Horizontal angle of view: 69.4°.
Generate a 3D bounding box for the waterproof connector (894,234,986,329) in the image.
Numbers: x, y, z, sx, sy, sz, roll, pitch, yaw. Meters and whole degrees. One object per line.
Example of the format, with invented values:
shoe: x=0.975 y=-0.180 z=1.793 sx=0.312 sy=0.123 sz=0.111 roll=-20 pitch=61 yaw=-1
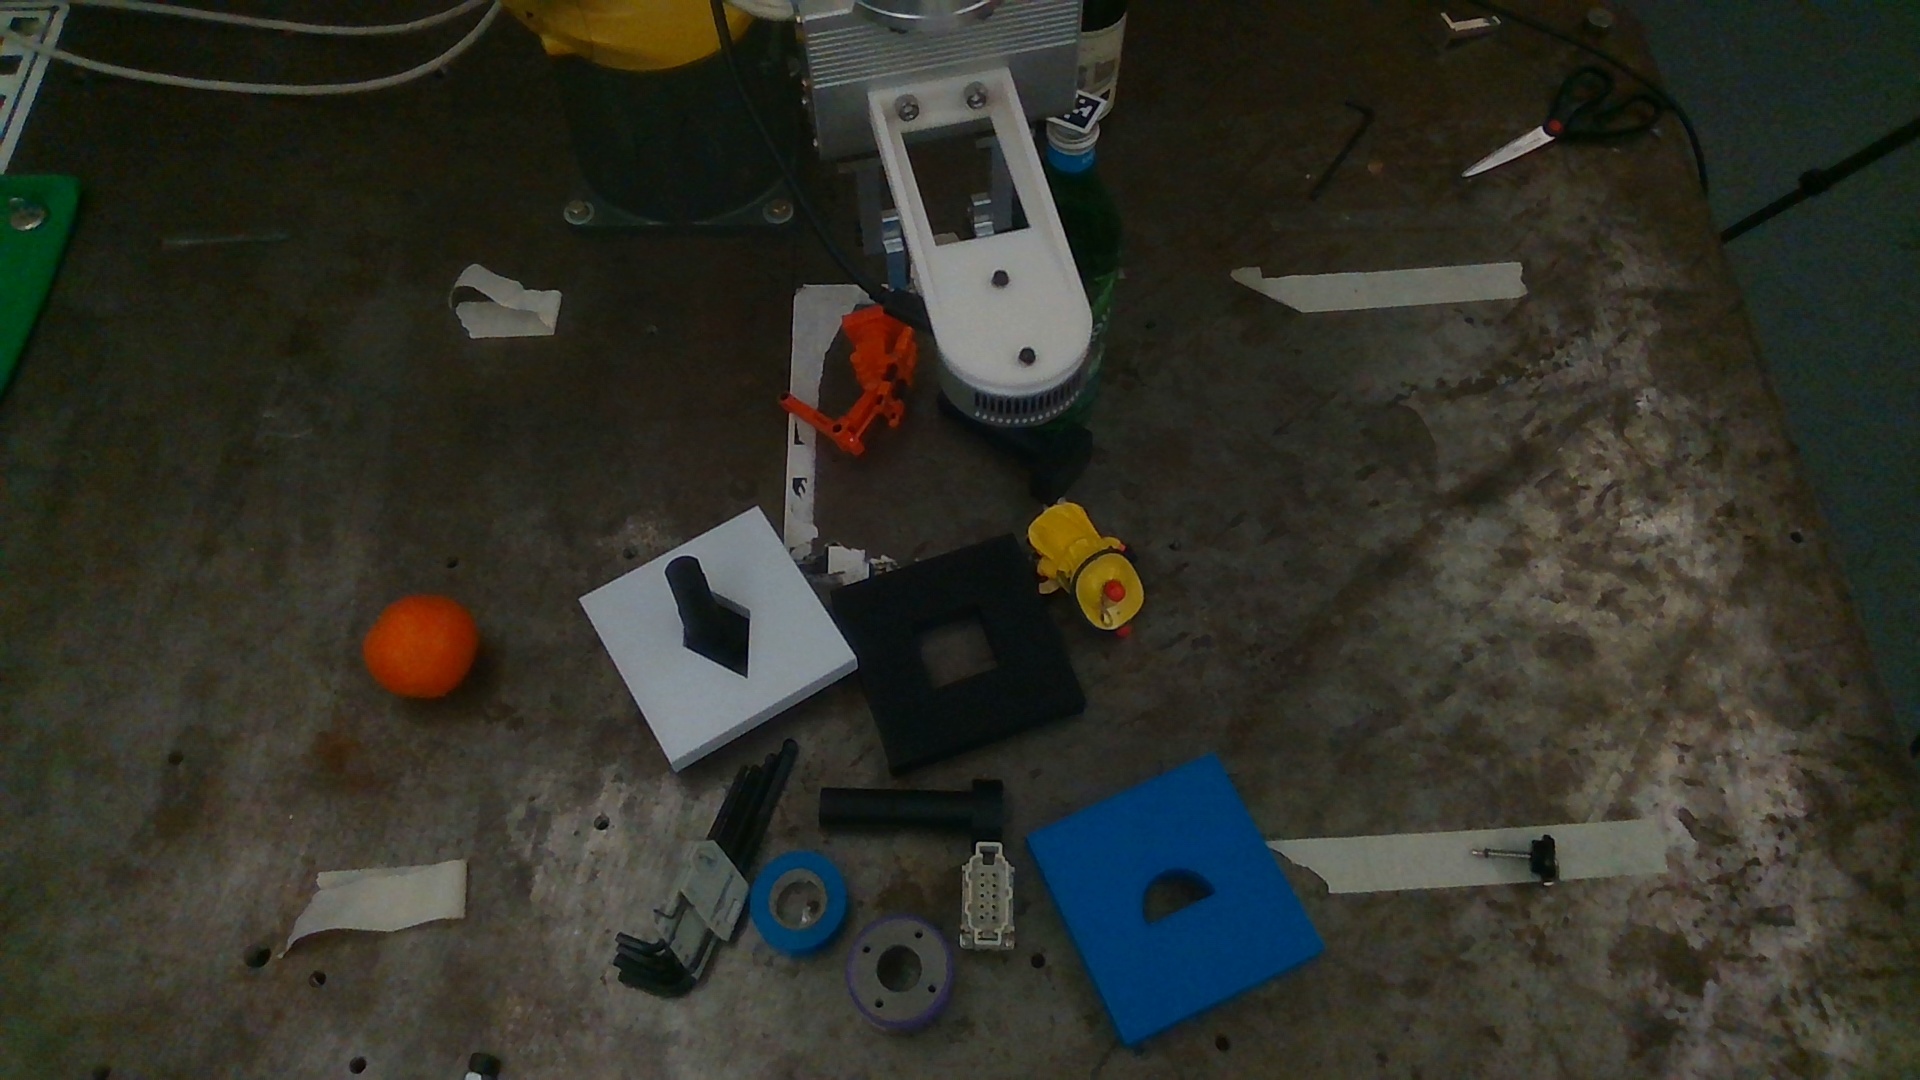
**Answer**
waterproof connector: x=-0.011 y=-0.136 z=0.733 sx=0.036 sy=0.038 sz=0.069 roll=-16 pitch=25 yaw=-7
